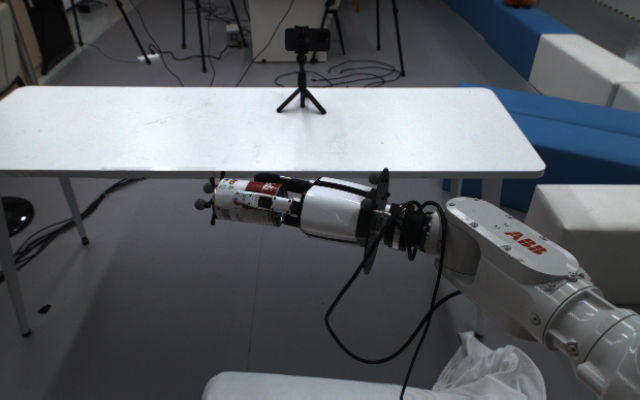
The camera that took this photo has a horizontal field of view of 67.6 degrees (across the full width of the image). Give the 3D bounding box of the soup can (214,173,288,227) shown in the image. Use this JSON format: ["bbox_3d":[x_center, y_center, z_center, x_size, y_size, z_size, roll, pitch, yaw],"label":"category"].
[{"bbox_3d":[-0.107,0.004,0.755,0.101,0.067,0.067,6,35,12],"label":"soup can"}]
